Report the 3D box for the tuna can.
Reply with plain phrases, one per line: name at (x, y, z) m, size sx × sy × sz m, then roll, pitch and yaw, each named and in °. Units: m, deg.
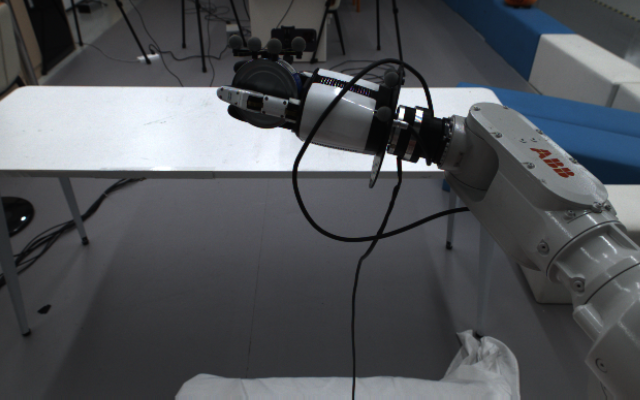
tuna can at (-0.065, -0.136, 0.610) m, size 0.085 × 0.085 × 0.034 m, roll 9°, pitch 23°, yaw 9°
